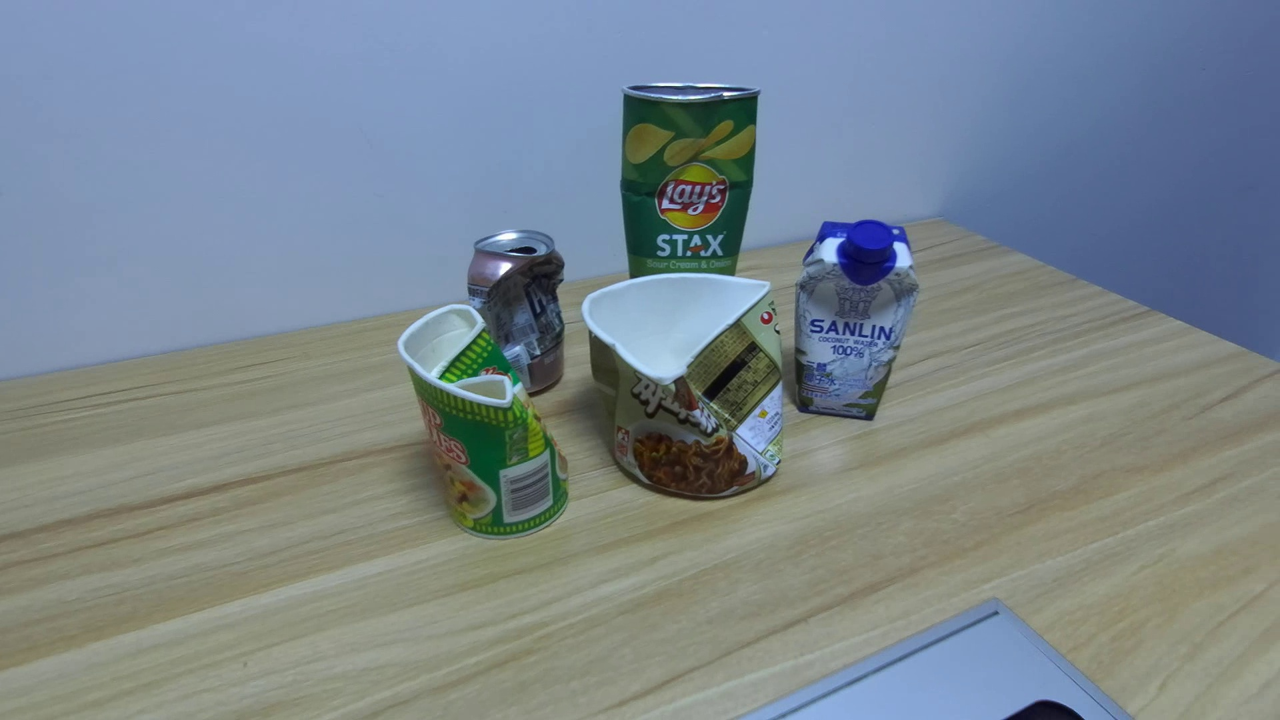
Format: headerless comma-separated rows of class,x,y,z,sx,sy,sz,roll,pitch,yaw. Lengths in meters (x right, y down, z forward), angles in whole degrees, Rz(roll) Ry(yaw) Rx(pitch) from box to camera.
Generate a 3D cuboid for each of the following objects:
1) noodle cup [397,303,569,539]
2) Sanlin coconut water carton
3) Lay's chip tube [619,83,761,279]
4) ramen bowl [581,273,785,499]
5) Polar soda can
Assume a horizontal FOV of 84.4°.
noodle cup,-0.079,0.035,0.390,0.075,0.122,0.083,0,40,13
Sanlin coconut water carton,0.141,-0.029,0.475,0.078,0.142,0.057,6,36,7
Lay's chip tube,0.033,-0.095,0.519,0.075,0.199,0.068,-25,39,-36
ramen bowl,0.033,0.011,0.445,0.137,0.098,0.137,1,31,0
Polar soda can,-0.087,-0.034,0.505,0.070,0.114,0.074,-1,34,-14
